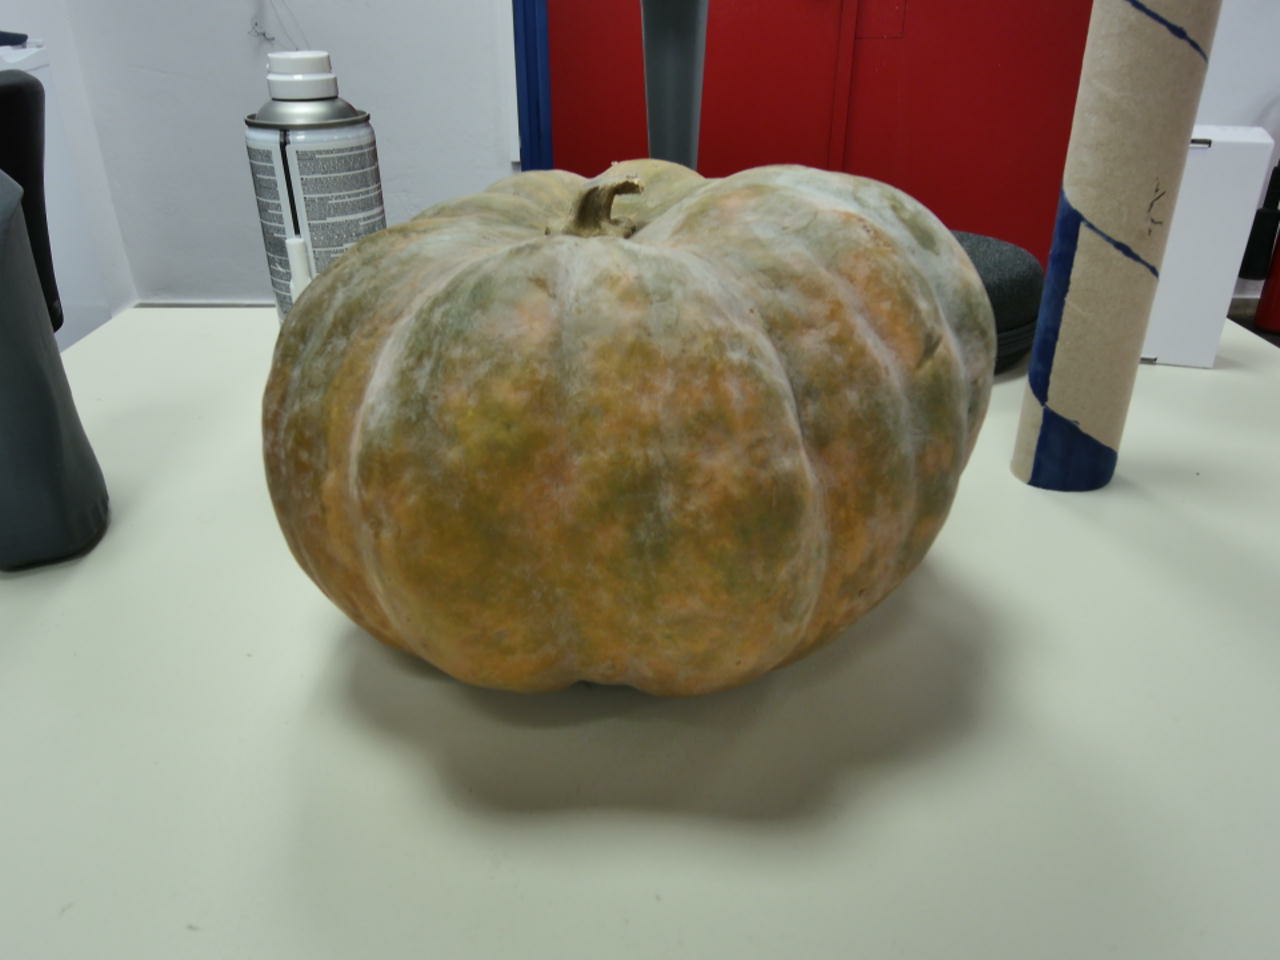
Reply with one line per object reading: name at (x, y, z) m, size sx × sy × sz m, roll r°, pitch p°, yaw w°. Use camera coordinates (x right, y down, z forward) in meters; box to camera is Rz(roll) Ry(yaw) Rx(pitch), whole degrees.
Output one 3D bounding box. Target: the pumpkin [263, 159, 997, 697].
pumpkin at (-0.010, -0.027, 0.364) m, size 0.252 × 0.169 × 0.251 m, roll 0°, pitch 25°, yaw 0°
